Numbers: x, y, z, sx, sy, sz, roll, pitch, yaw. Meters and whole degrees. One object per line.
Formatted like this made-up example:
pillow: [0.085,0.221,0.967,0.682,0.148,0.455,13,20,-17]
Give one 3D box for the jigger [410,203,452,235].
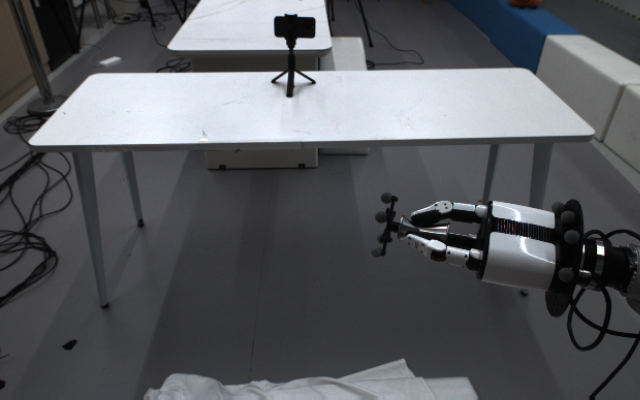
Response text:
jigger: [0.154,0.044,0.694,0.071,0.043,0.043,11,36,16]
